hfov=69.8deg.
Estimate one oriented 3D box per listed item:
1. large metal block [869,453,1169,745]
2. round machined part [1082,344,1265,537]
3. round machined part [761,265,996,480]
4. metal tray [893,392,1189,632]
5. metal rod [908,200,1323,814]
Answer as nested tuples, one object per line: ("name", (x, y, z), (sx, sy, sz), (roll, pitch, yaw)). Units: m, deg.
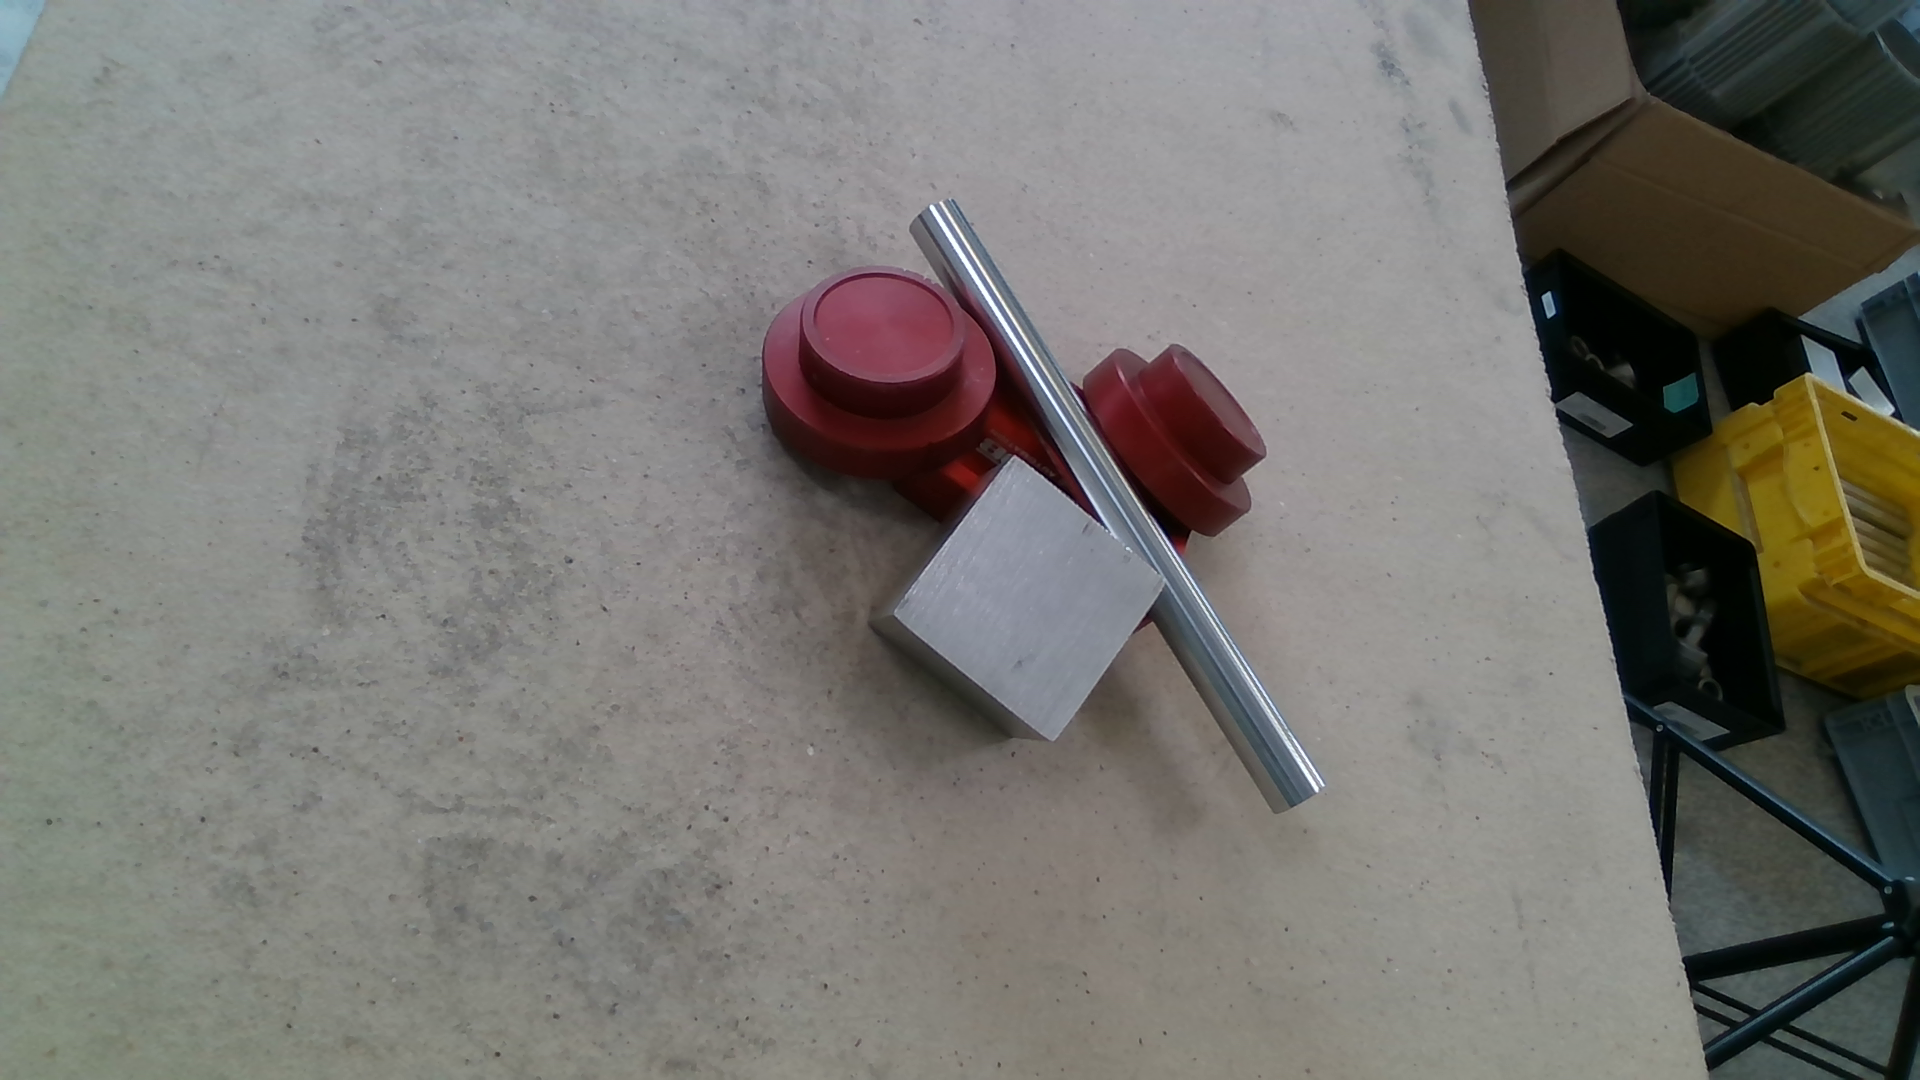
("large metal block", (0.022, 0.025, 0.552), (0.080, 0.050, 0.080), (39, 76, -8))
("round machined part", (0.104, -0.052, 0.642), (0.098, 0.042, 0.098), (40, 24, -22))
("round machined part", (-0.033, -0.076, 0.574), (0.098, 0.042, 0.098), (5, 54, -7))
("metal tray", (0.043, -0.025, 0.623), (0.130, 0.030, 0.090), (35, 52, -11))
("metal rod", (0.065, -0.018, 0.598), (0.025, 0.025, 0.300), (-25, 80, -38))
